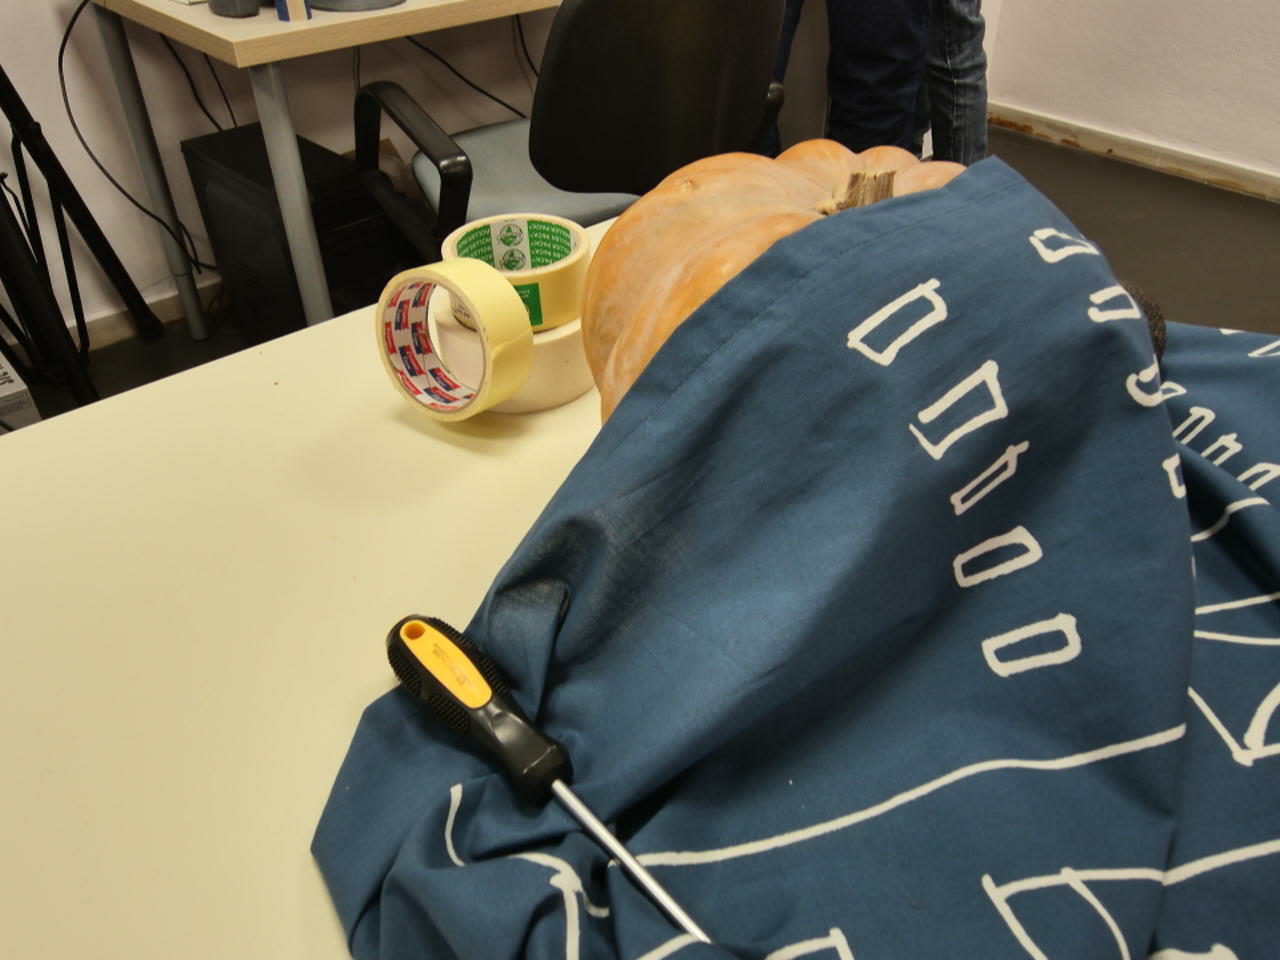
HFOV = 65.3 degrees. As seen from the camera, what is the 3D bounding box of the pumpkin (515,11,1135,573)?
[{"bbox_3d":[0.100,-0.069,0.510,0.277,0.181,0.277,0,36,0],"label":"pumpkin"}]
